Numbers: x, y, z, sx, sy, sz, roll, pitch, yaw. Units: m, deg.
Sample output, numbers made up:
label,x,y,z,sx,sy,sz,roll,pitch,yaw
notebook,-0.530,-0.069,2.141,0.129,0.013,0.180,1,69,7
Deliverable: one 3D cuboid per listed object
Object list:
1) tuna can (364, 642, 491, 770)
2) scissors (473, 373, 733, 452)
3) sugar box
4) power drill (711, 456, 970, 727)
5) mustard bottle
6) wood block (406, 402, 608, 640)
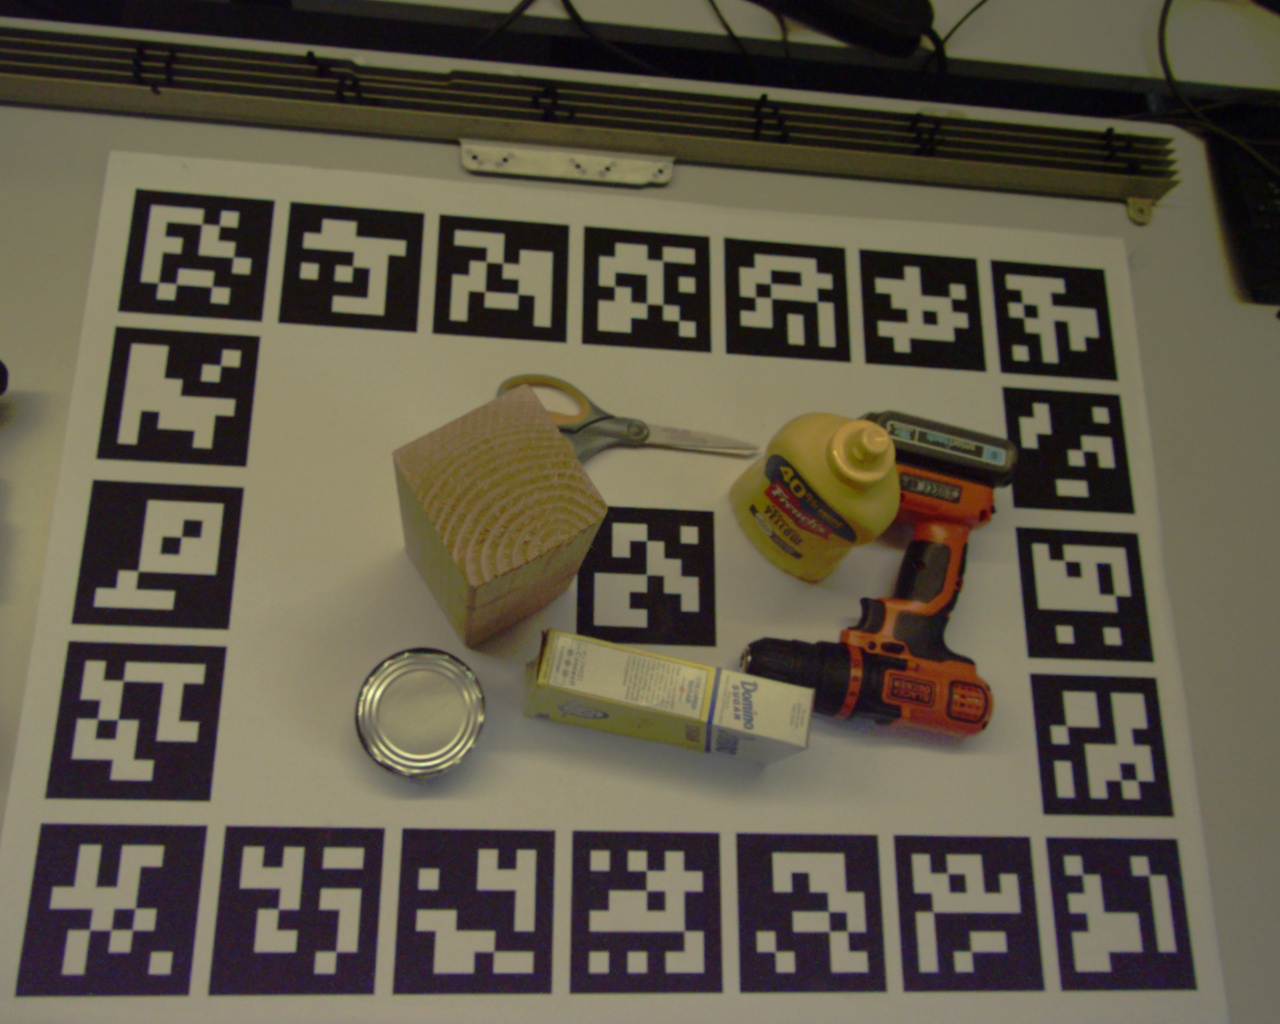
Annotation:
label,x,y,z,sx,sy,sz,roll,pitch,yaw
tuna can,-0.147,0.135,0.787,0.085,0.034,0.086,2,76,-9
scissors,-0.028,-0.058,0.868,0.202,0.016,0.088,4,71,-7
sugar box,0.021,0.128,0.788,0.176,0.093,0.045,14,70,-6
power drill,0.159,0.054,0.845,0.184,0.057,0.187,15,80,-4
mustard bottle,0.122,-0.012,0.796,0.058,0.192,0.096,-38,85,-15
wood block,-0.094,0.014,0.751,0.090,0.207,0.090,-26,82,-15
